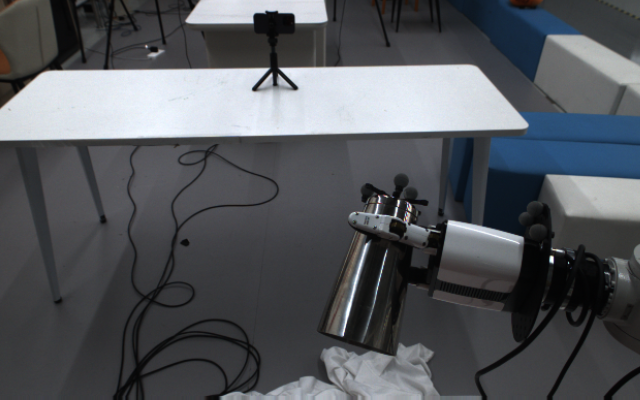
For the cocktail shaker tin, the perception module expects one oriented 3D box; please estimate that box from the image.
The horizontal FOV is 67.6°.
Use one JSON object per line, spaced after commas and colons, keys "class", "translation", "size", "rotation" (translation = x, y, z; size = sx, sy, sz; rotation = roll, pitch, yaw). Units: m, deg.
{"class": "cocktail shaker tin", "translation": [0.065, 0.081, 0.570], "size": [0.093, 0.093, 0.170], "rotation": [13, 71, 15]}
